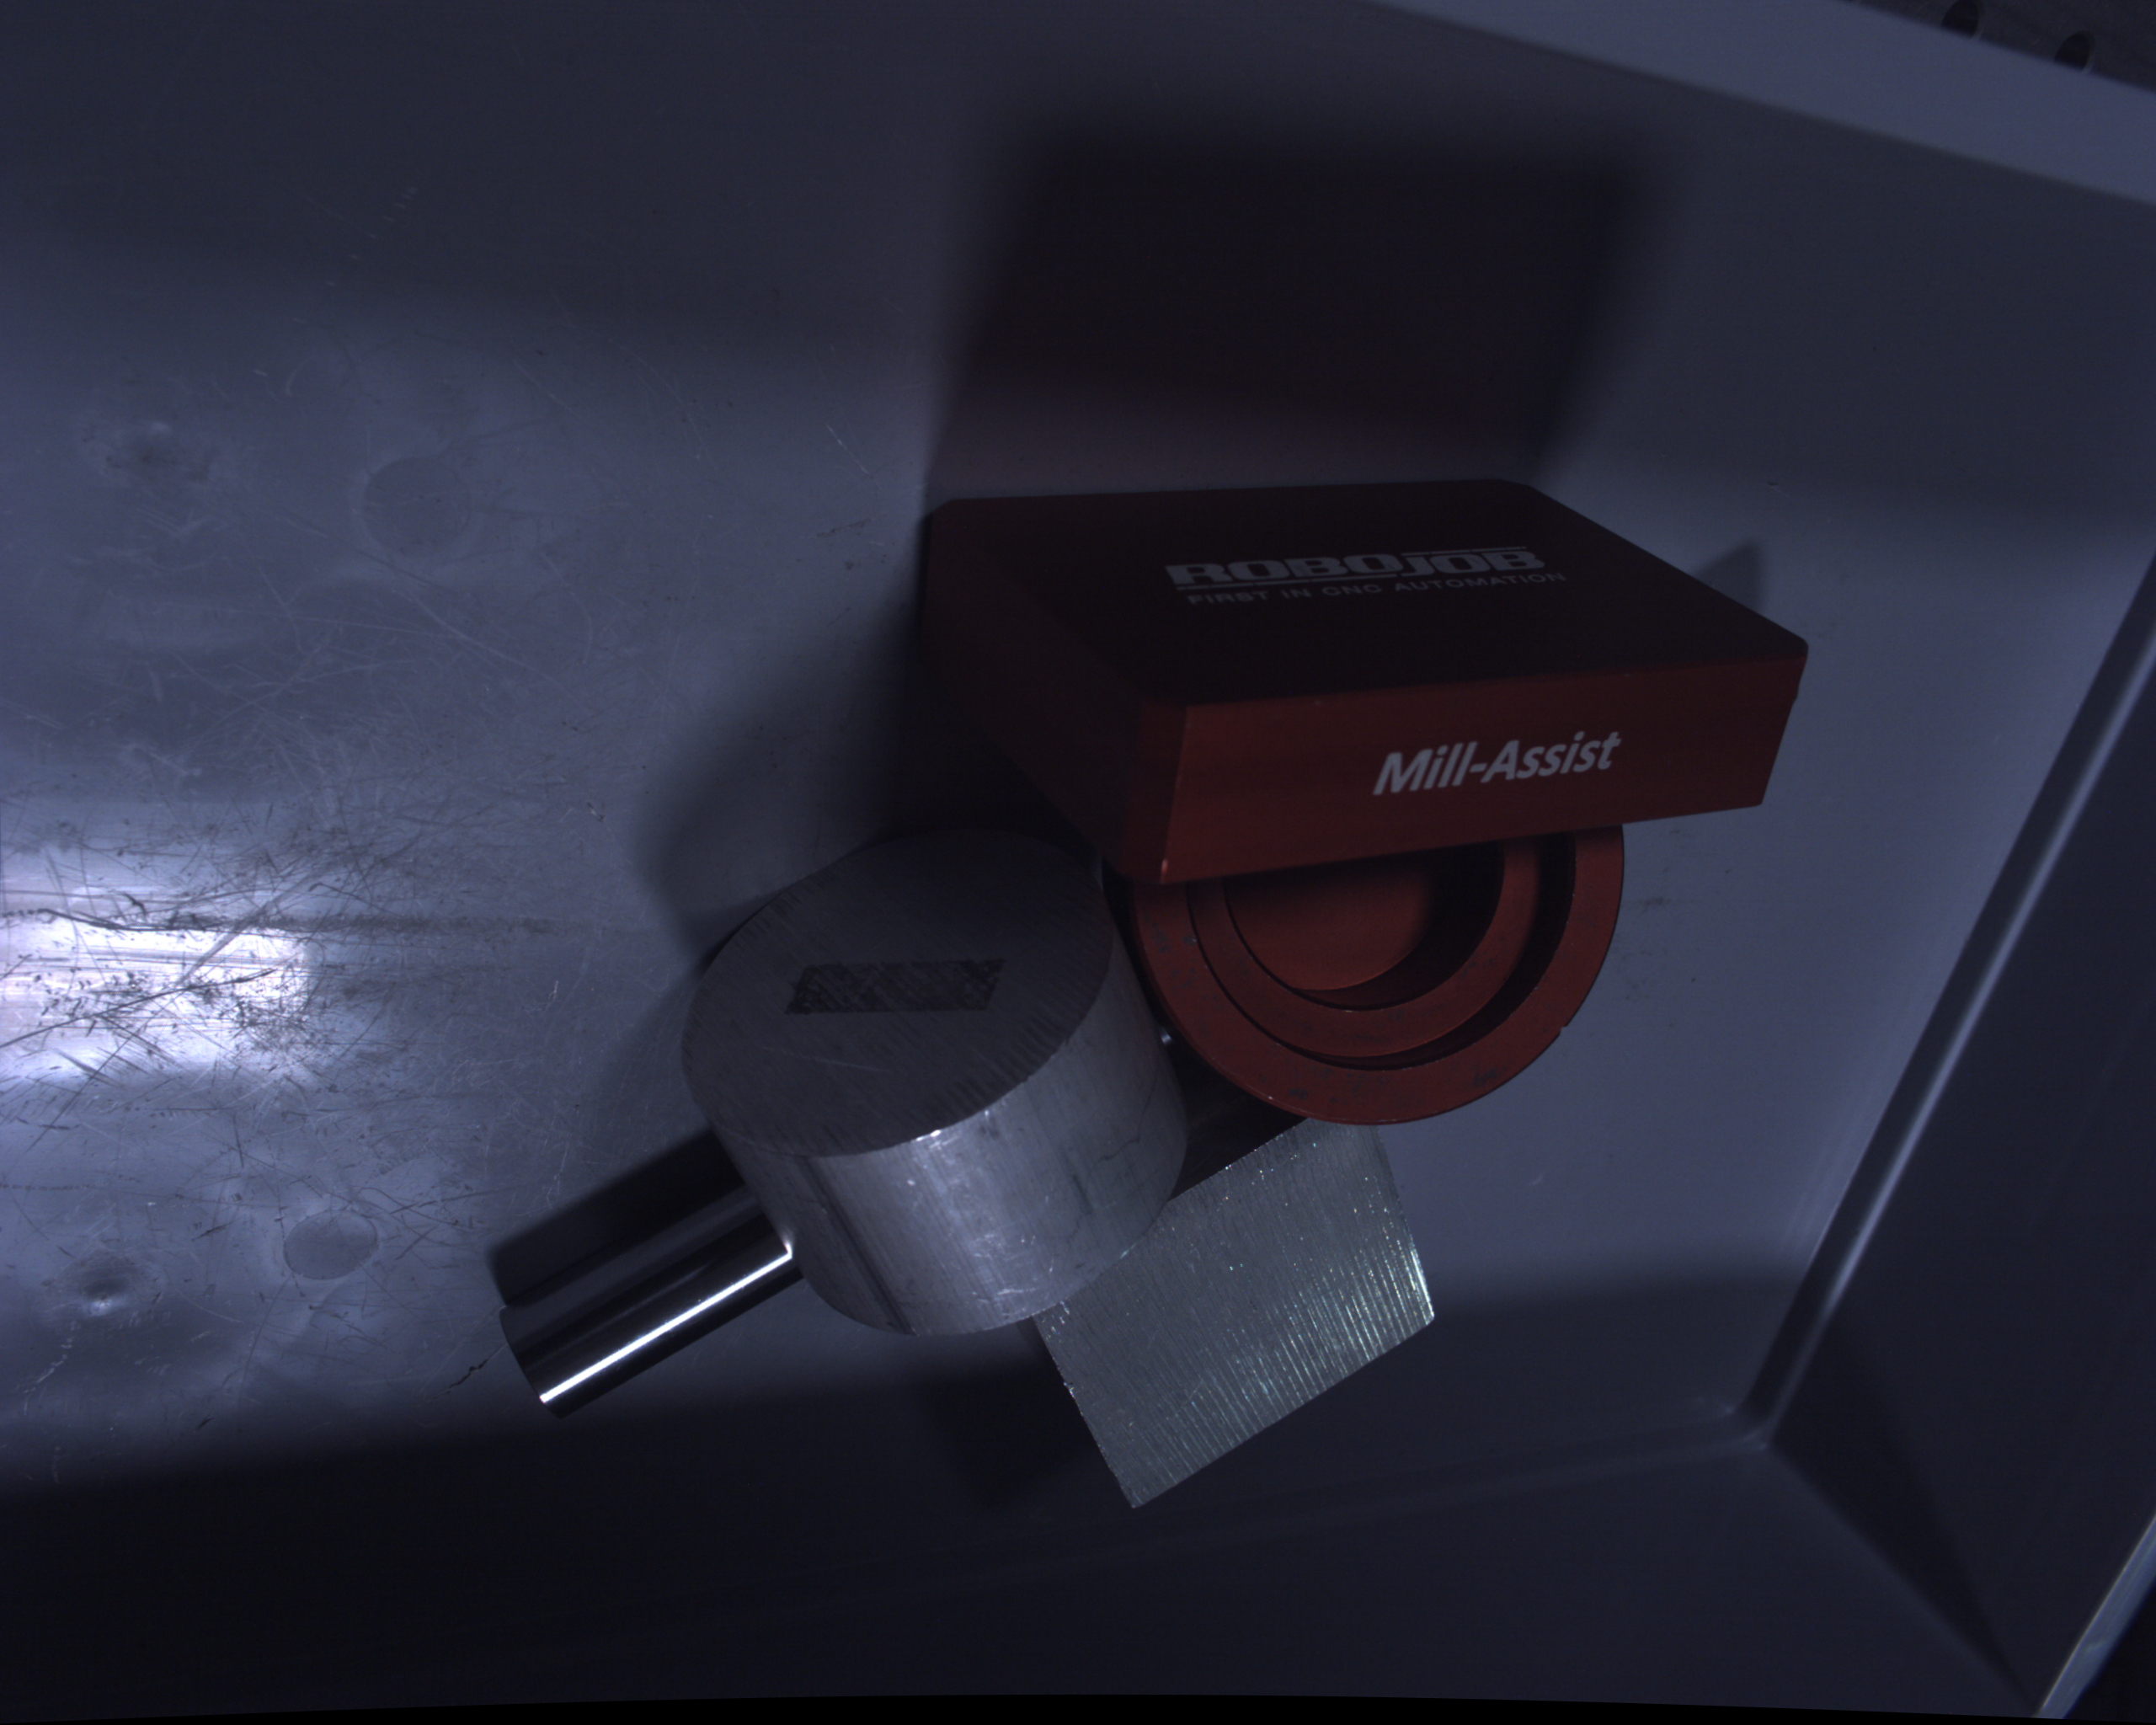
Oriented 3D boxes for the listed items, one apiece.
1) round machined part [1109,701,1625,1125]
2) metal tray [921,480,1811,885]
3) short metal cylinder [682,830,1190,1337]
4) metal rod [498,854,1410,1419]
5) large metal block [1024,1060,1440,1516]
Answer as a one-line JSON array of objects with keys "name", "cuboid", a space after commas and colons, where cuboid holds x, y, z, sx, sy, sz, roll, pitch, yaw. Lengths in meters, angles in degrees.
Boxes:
[{"name": "round machined part", "cuboid": [0.053, 0.000, 0.408, 0.099, 0.042, 0.097, -1, 93, -14]}, {"name": "metal tray", "cuboid": [0.049, -0.037, 0.369, 0.131, 0.090, 0.030, -7, 122, -26]}, {"name": "short metal cylinder", "cuboid": [-0.025, 0.039, 0.383, 0.080, 0.080, 0.050, -30, 129, -10]}, {"name": "metal rod", "cuboid": [0.022, 0.027, 0.437, 0.302, 0.025, 0.025, -29, 129, -10]}, {"name": "large metal block", "cuboid": [0.024, 0.082, 0.454, 0.080, 0.050, 0.080, -29, 129, -10]}]
